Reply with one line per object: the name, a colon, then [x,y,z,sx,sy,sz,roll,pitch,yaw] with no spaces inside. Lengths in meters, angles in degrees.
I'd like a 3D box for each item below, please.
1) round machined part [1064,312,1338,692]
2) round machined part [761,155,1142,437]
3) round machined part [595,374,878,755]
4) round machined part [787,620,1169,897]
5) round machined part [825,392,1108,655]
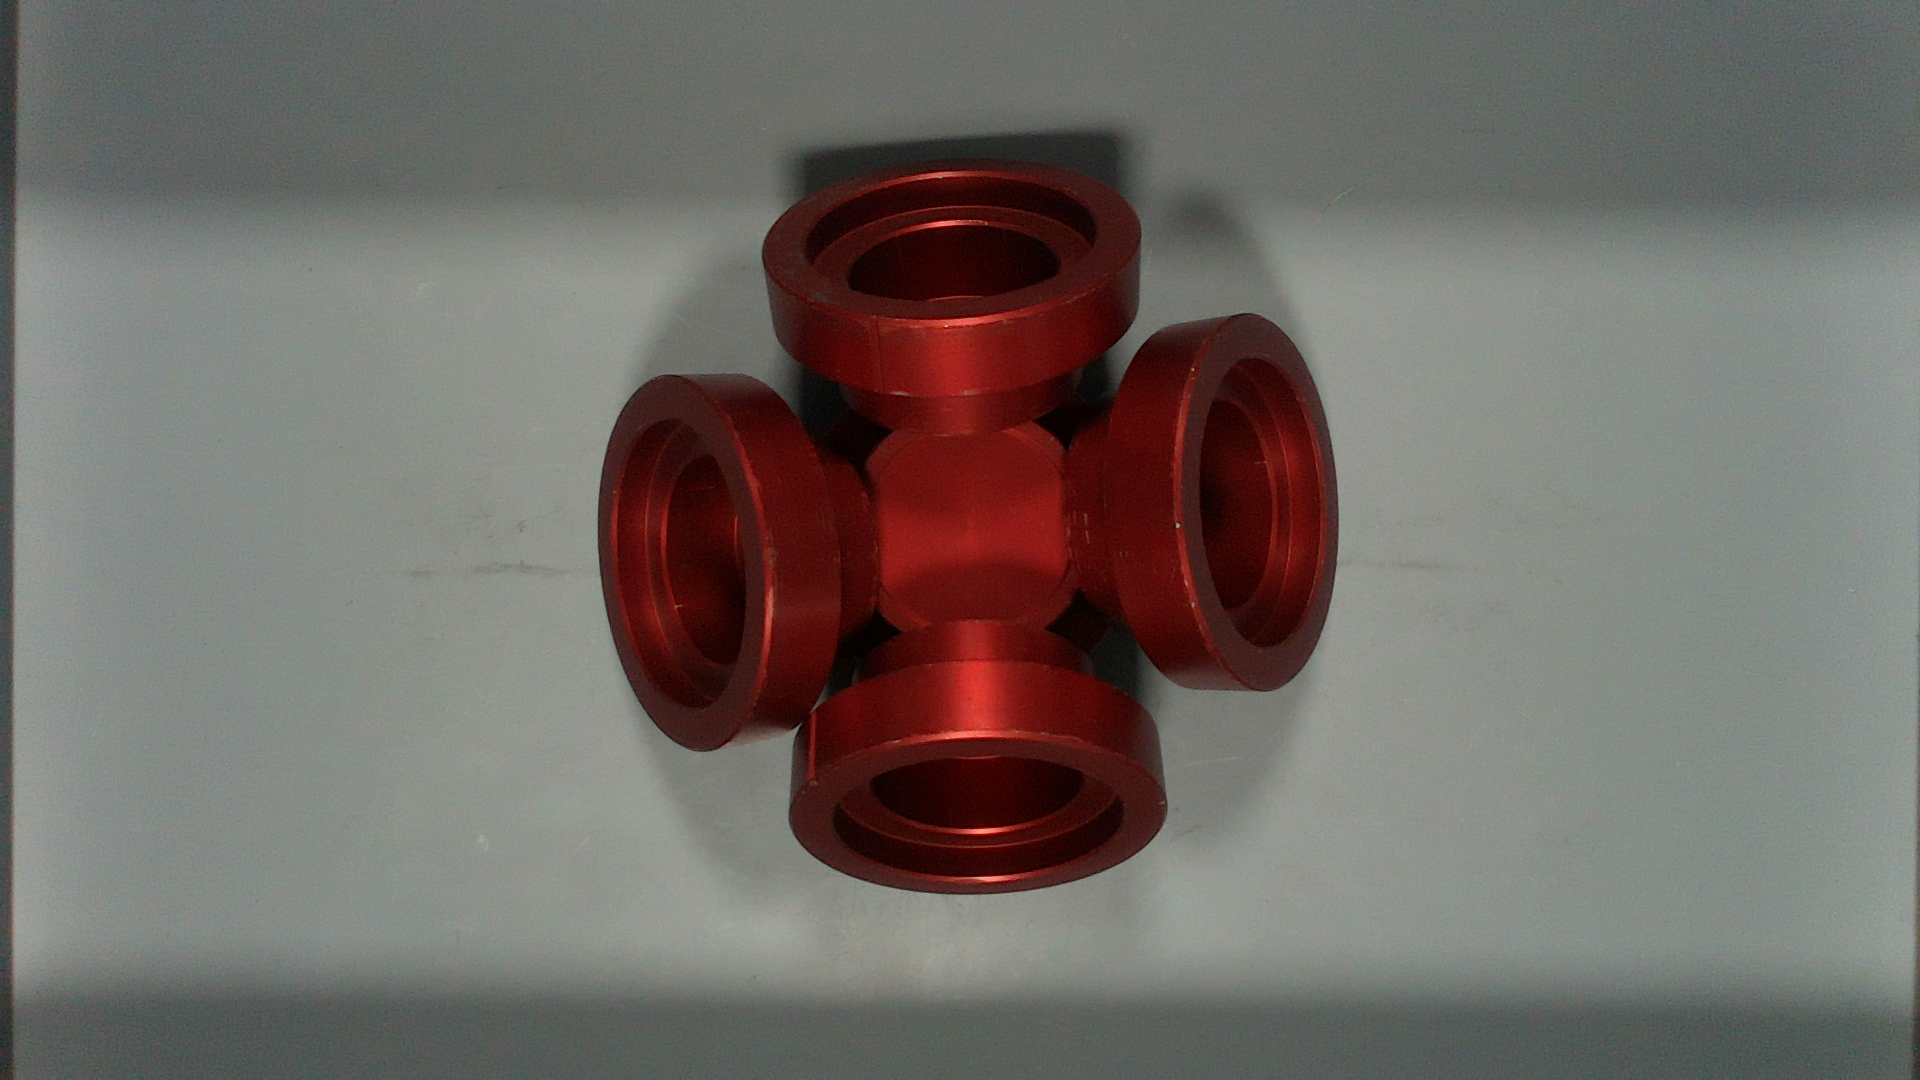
round machined part: [0.063,-0.009,0.368,0.042,0.098,0.098,-3,90,36]
round machined part: [-0.001,-0.063,0.367,0.098,0.098,0.042,-4,128,0]
round machined part: [-0.058,0.005,0.367,0.042,0.098,0.098,-7,90,-37]
round machined part: [0.004,0.057,0.367,0.098,0.098,0.042,-2,54,0]
round machined part: [0.003,-0.003,0.385,0.098,0.042,0.098,0,90,0]
